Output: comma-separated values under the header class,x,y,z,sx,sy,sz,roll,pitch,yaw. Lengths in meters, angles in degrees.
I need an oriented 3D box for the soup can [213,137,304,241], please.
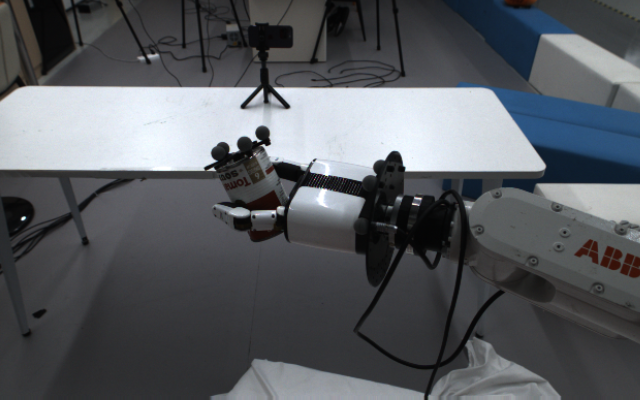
class,x,y,z,sx,sy,sz,roll,pitch,yaw
soup can,-0.077,-0.007,0.608,0.067,0.101,0.067,-23,16,7
